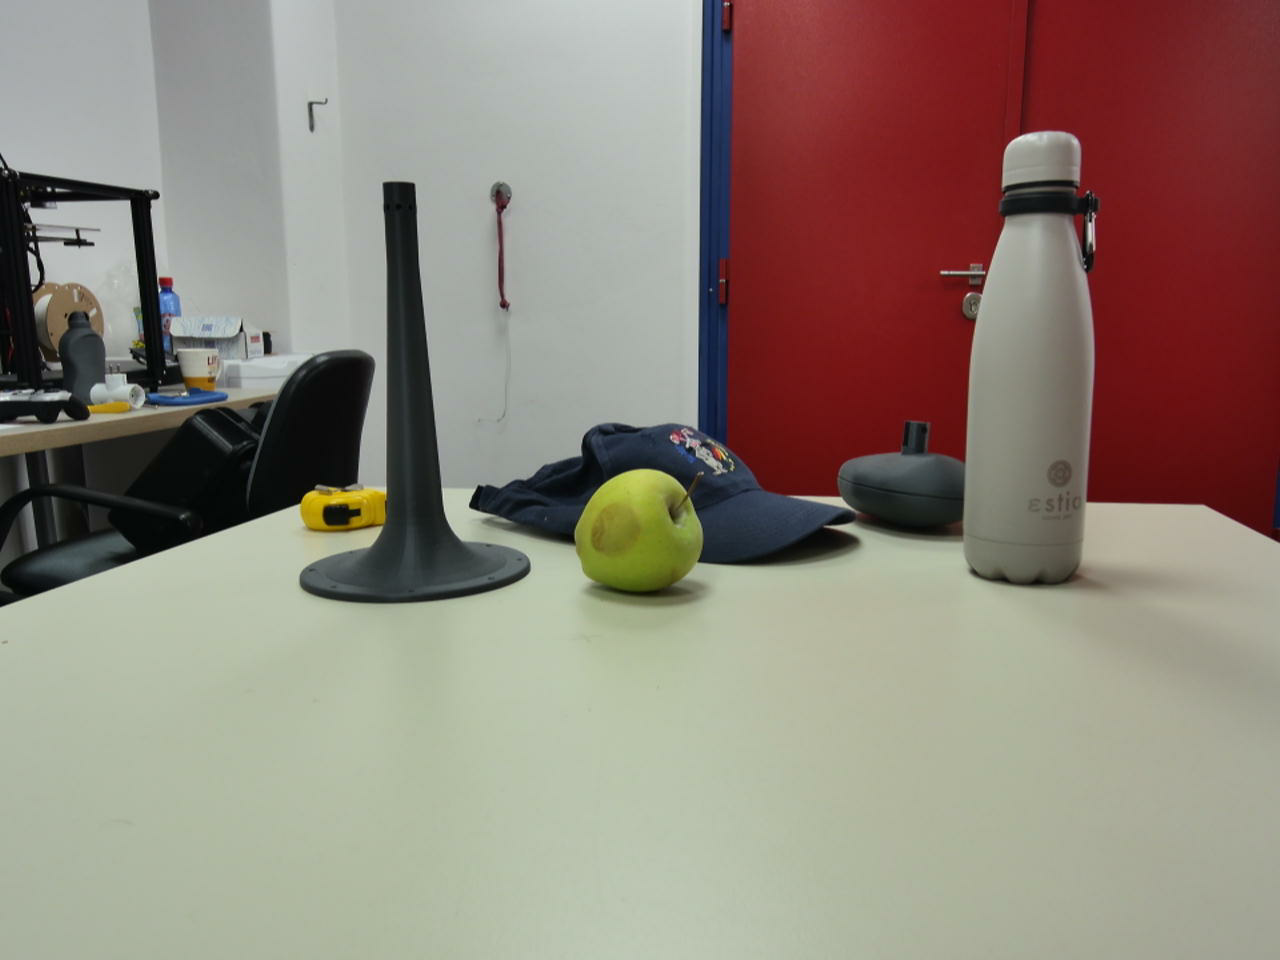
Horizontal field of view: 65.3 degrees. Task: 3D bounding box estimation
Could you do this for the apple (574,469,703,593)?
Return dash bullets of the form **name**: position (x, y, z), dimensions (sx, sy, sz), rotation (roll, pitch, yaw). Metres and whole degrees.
- **apple**: position (0.000, 0.031, 0.621), dimensions (0.072, 0.075, 0.077), rotation (-7, 9, -34)
